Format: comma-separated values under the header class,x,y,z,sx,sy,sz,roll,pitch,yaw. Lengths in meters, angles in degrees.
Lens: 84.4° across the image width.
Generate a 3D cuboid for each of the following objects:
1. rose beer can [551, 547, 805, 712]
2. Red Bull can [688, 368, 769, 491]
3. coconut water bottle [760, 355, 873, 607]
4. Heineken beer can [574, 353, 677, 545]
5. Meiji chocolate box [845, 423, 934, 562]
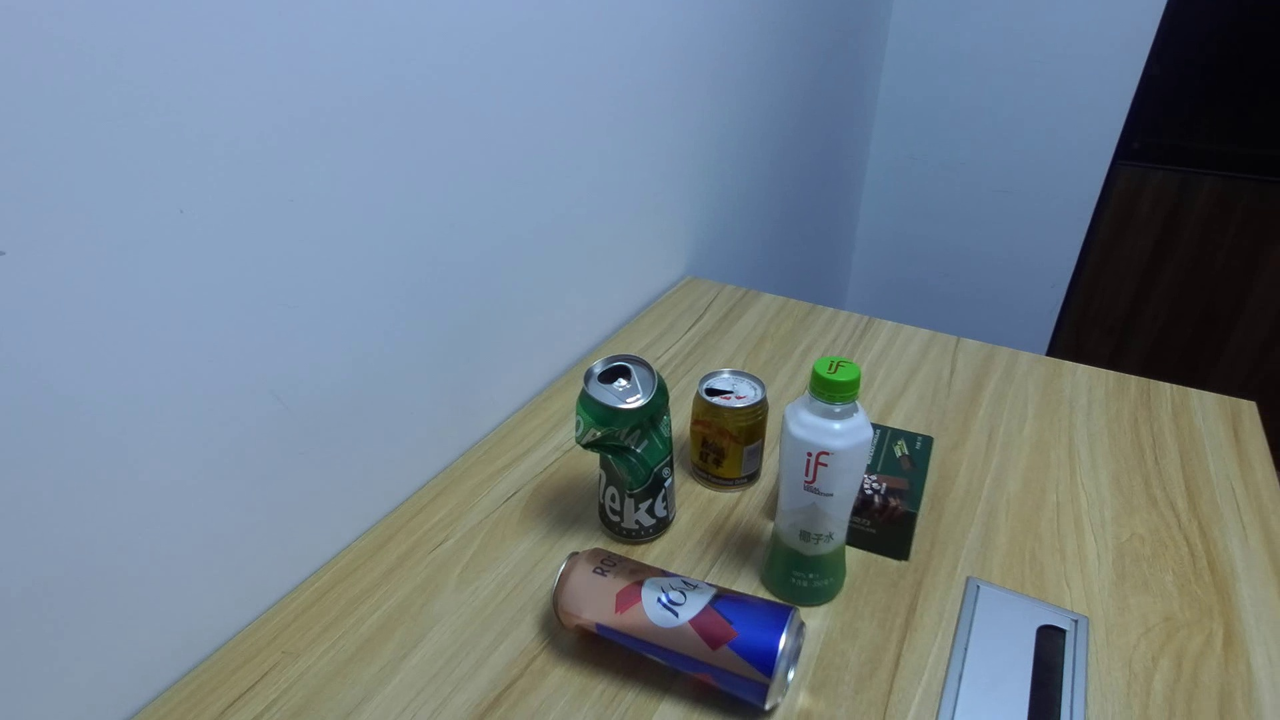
class,x,y,z,sx,sy,sz,roll,pitch,yaw
rose beer can,0.024,0.173,0.475,0.167,0.069,0.070,12,52,22
Red Bull can,0.079,0.062,0.626,0.069,0.092,0.069,0,31,0
coconut water bottle,0.125,0.087,0.497,0.063,0.189,0.063,0,30,0
Heineken beer can,-0.008,0.071,0.558,0.067,0.159,0.078,-1,36,5
Meiji chocolate box,0.185,0.102,0.604,0.109,0.056,0.110,14,33,21
